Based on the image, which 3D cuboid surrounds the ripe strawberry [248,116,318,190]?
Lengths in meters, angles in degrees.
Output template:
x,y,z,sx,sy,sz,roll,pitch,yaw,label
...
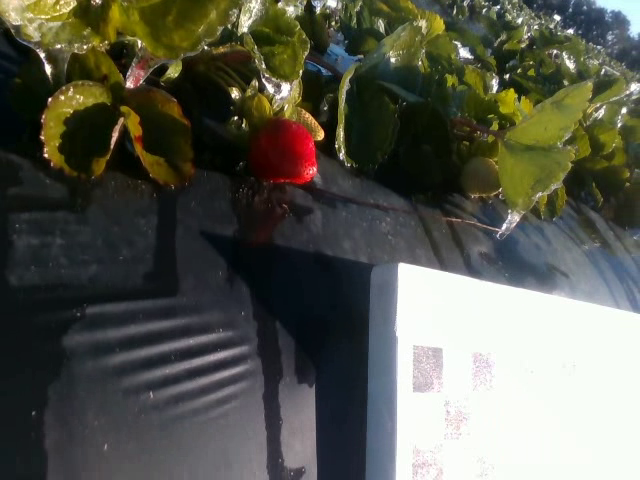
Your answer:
x,y,z,sx,sy,sz,roll,pitch,yaw,label
-0.011,-0.033,0.241,0.039,0.040,0.039,-1,18,-29,ripe strawberry
